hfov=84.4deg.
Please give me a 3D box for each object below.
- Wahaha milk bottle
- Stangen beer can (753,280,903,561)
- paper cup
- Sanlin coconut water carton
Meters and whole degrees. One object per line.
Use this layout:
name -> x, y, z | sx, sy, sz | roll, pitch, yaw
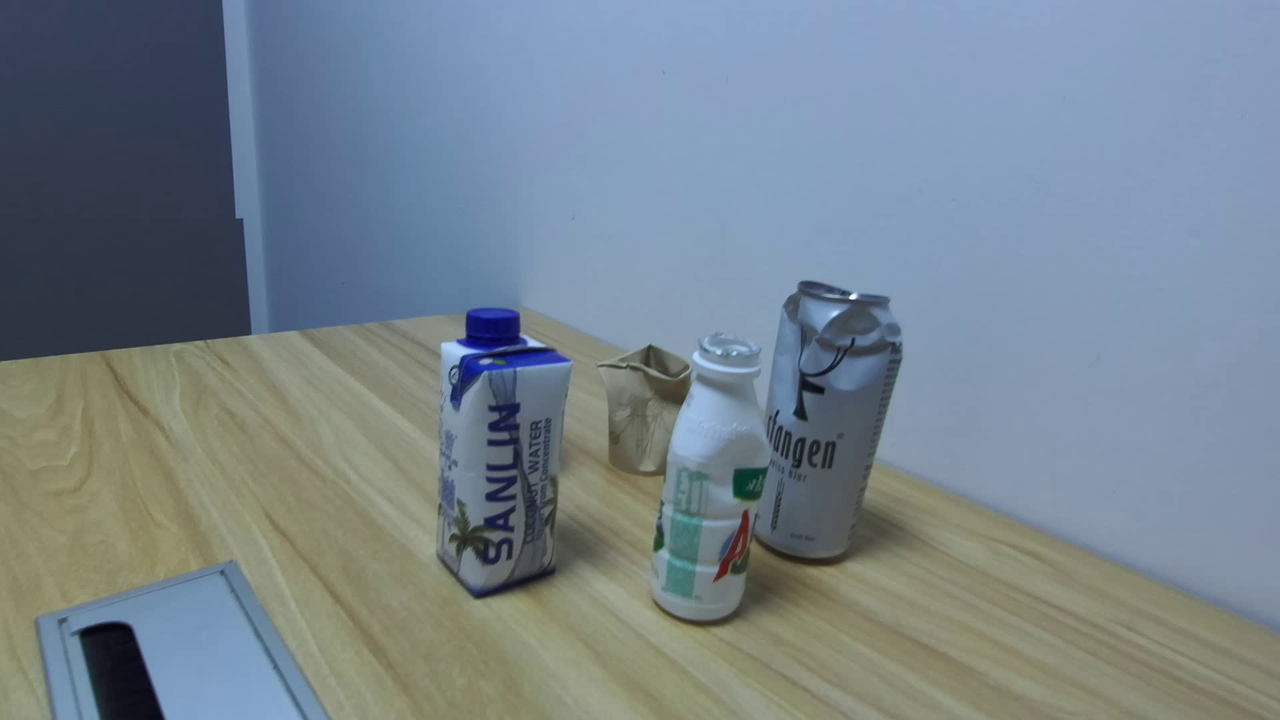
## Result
Wahaha milk bottle -> 0.037, 0.062, 0.361 | 0.055, 0.149, 0.055 | 6, 21, -2
Stangen beer can -> 0.110, 0.038, 0.431 | 0.066, 0.166, 0.065 | 3, 18, -11
paper cup -> 0.002, 0.038, 0.520 | 0.058, 0.083, 0.066 | -9, 21, -31
Sanlin coconut water carton -> -0.075, 0.048, 0.381 | 0.061, 0.144, 0.060 | -8, 23, -39
